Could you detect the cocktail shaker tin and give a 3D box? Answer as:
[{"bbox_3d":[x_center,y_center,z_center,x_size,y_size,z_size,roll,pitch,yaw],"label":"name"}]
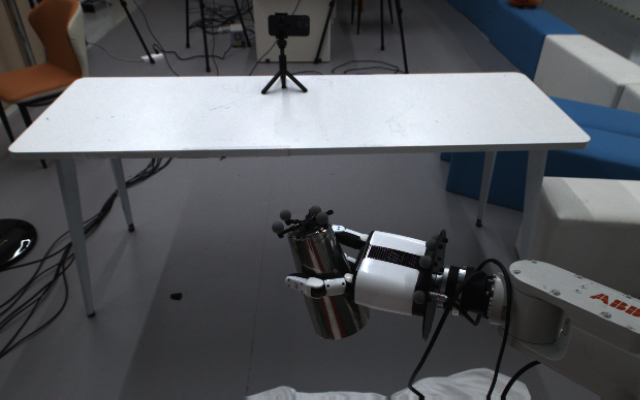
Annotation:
[{"bbox_3d":[0.008,0.115,0.736,0.093,0.170,0.093,-17,20,6],"label":"cocktail shaker tin"}]
